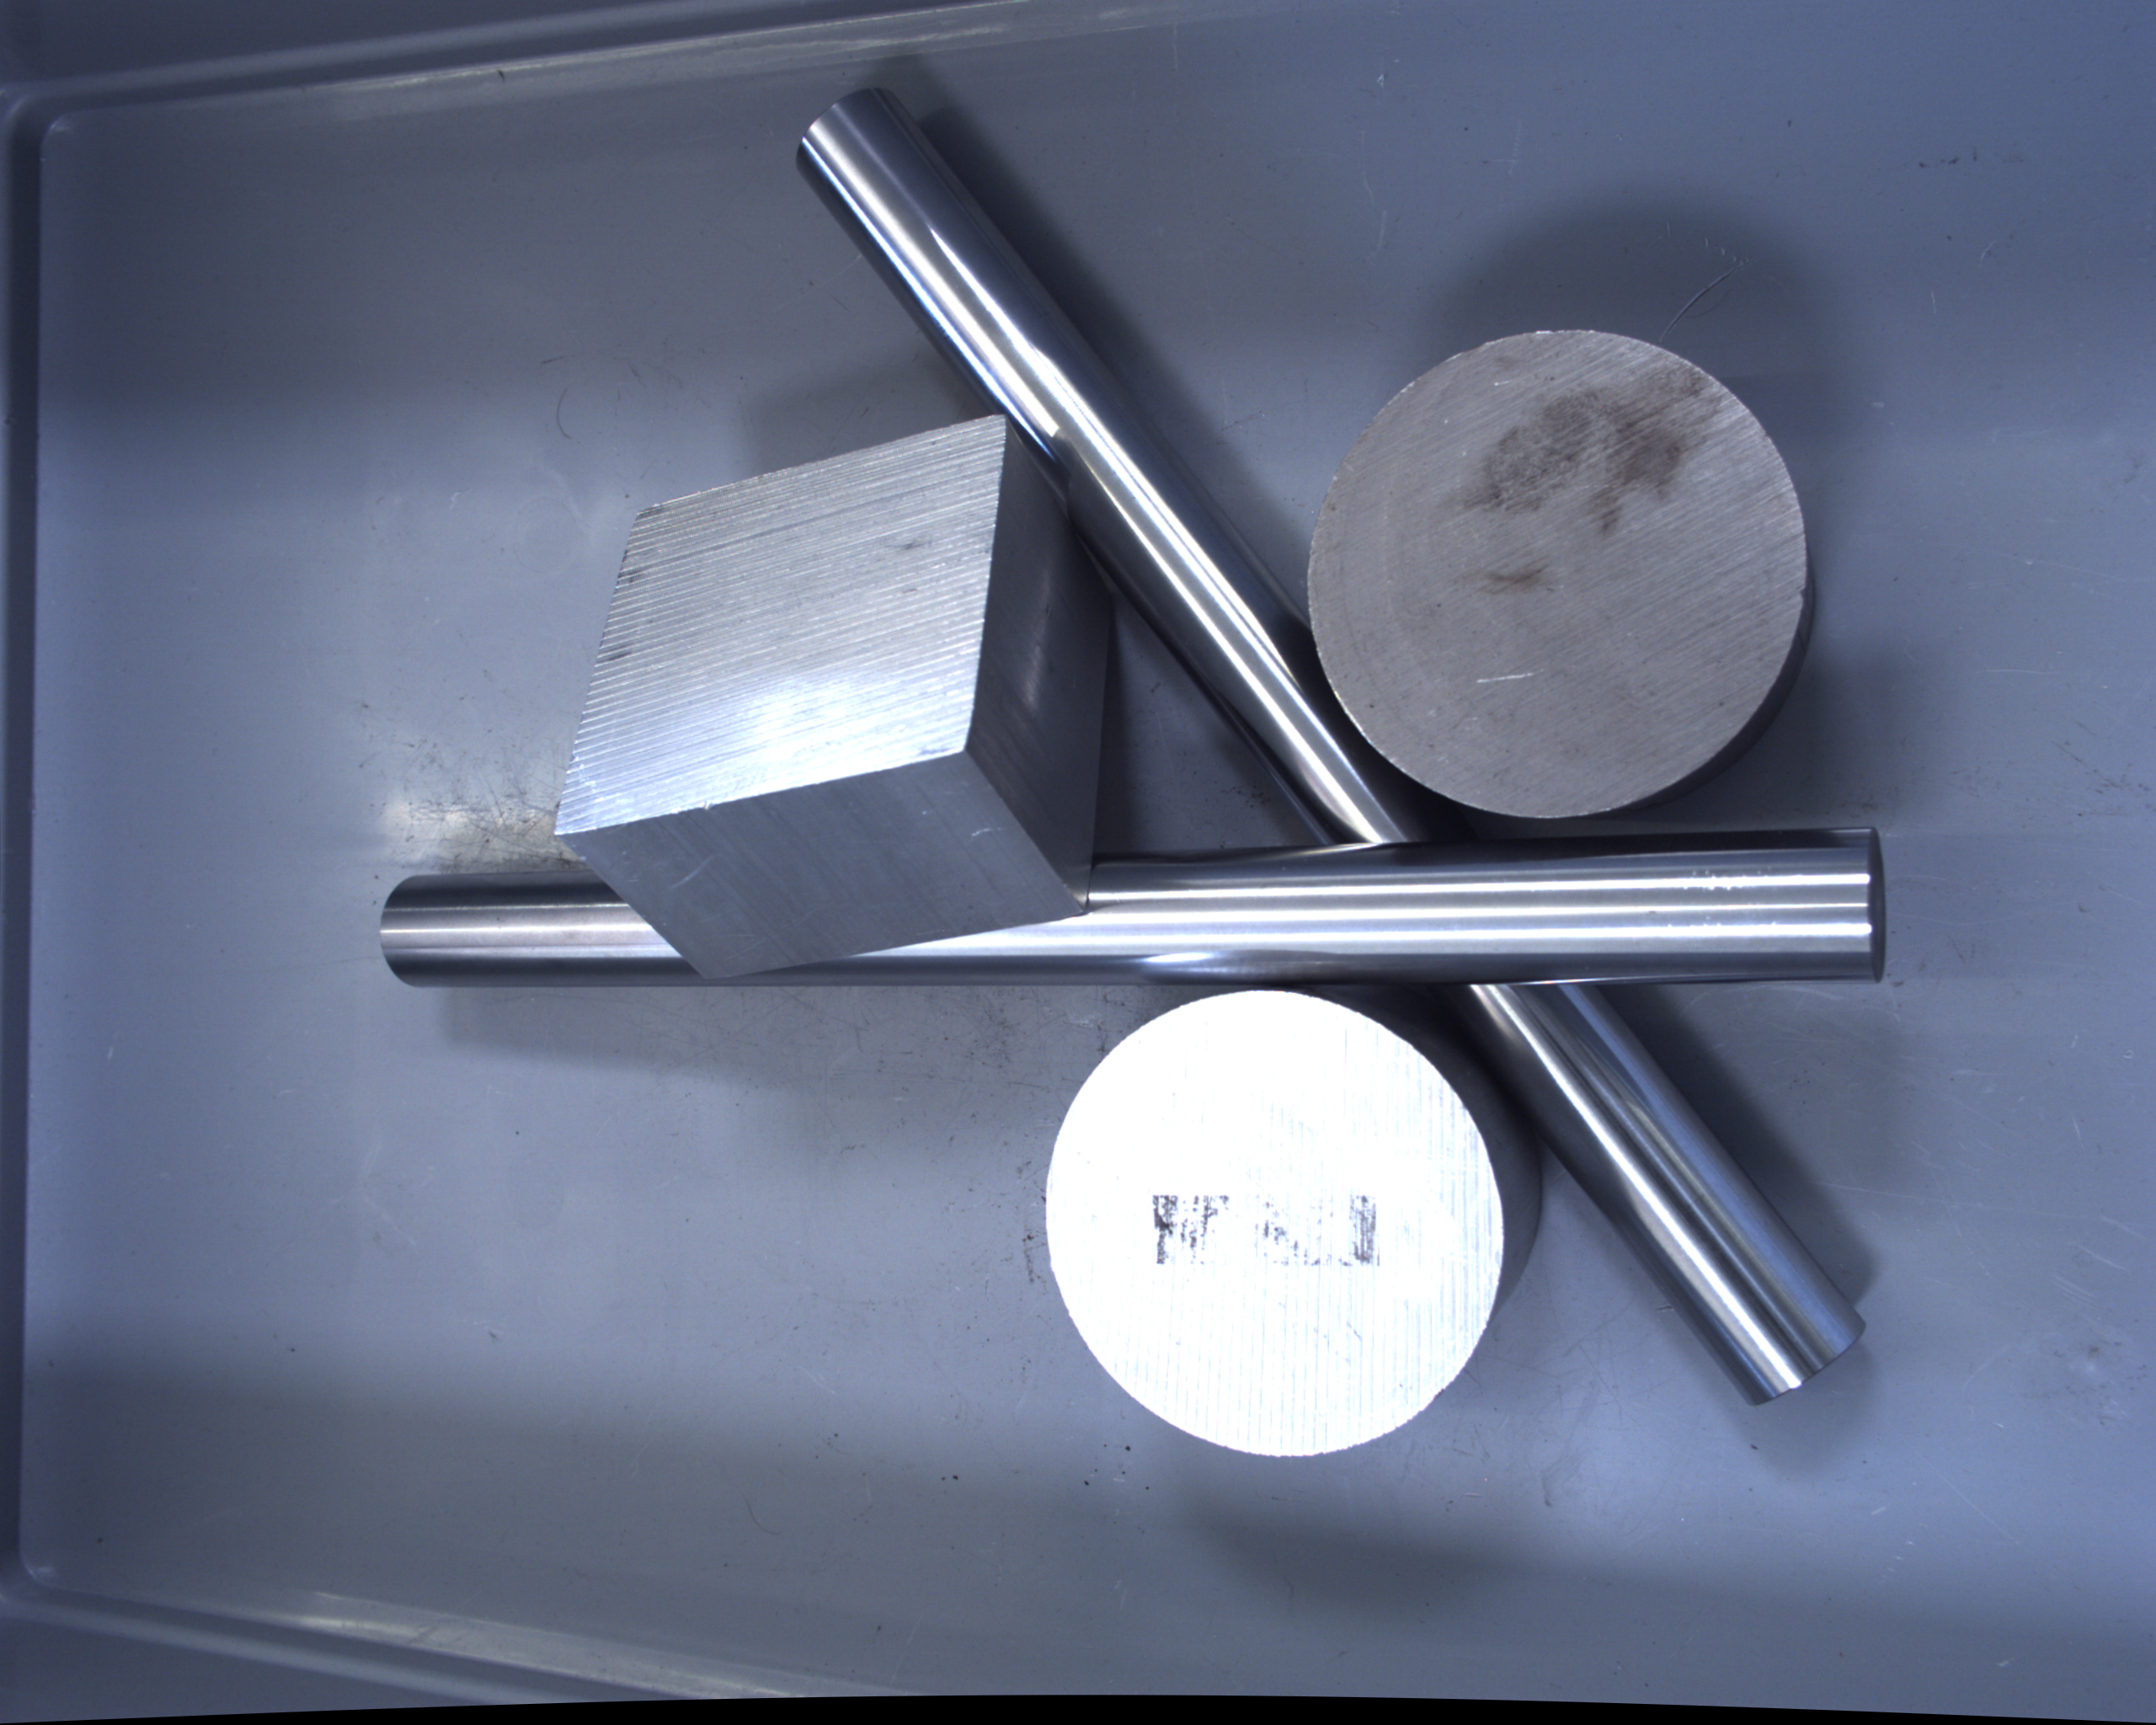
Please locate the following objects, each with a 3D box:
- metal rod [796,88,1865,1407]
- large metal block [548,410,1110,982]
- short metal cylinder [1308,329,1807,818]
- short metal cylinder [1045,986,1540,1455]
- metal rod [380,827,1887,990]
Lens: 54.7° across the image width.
[{"bbox_3d":[0.040,-0.030,0.395,0.025,0.025,0.299,-40,78,16],"label":"metal rod"},{"bbox_3d":[-0.043,-0.030,0.391,0.080,0.050,0.080,-10,52,20],"label":"large metal block"},{"bbox_3d":[0.086,-0.048,0.366,0.080,0.050,0.079,0,90,20],"label":"short metal cylinder"},{"bbox_3d":[0.041,0.062,0.381,0.080,0.050,0.079,0,90,20],"label":"short metal cylinder"},{"bbox_3d":[-0.009,0.011,0.394,0.301,0.025,0.025,-2,90,26],"label":"metal rod"}]
